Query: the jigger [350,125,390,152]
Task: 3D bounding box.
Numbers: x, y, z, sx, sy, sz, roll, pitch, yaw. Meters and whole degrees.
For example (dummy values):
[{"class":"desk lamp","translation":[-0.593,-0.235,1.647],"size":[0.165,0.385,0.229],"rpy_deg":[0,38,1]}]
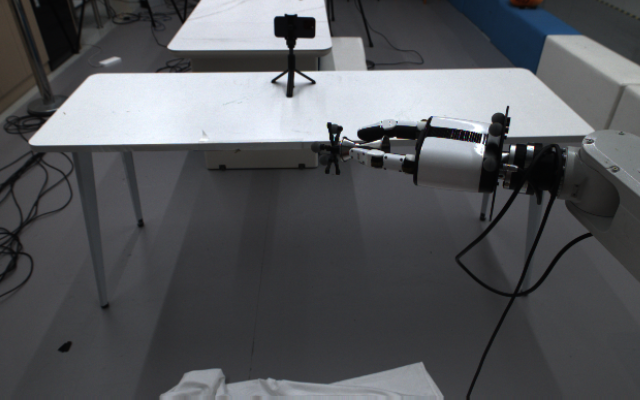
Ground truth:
[{"class":"jigger","translation":[0.075,-0.083,0.735],"size":[0.071,0.043,0.043],"rpy_deg":[2,32,25]}]
